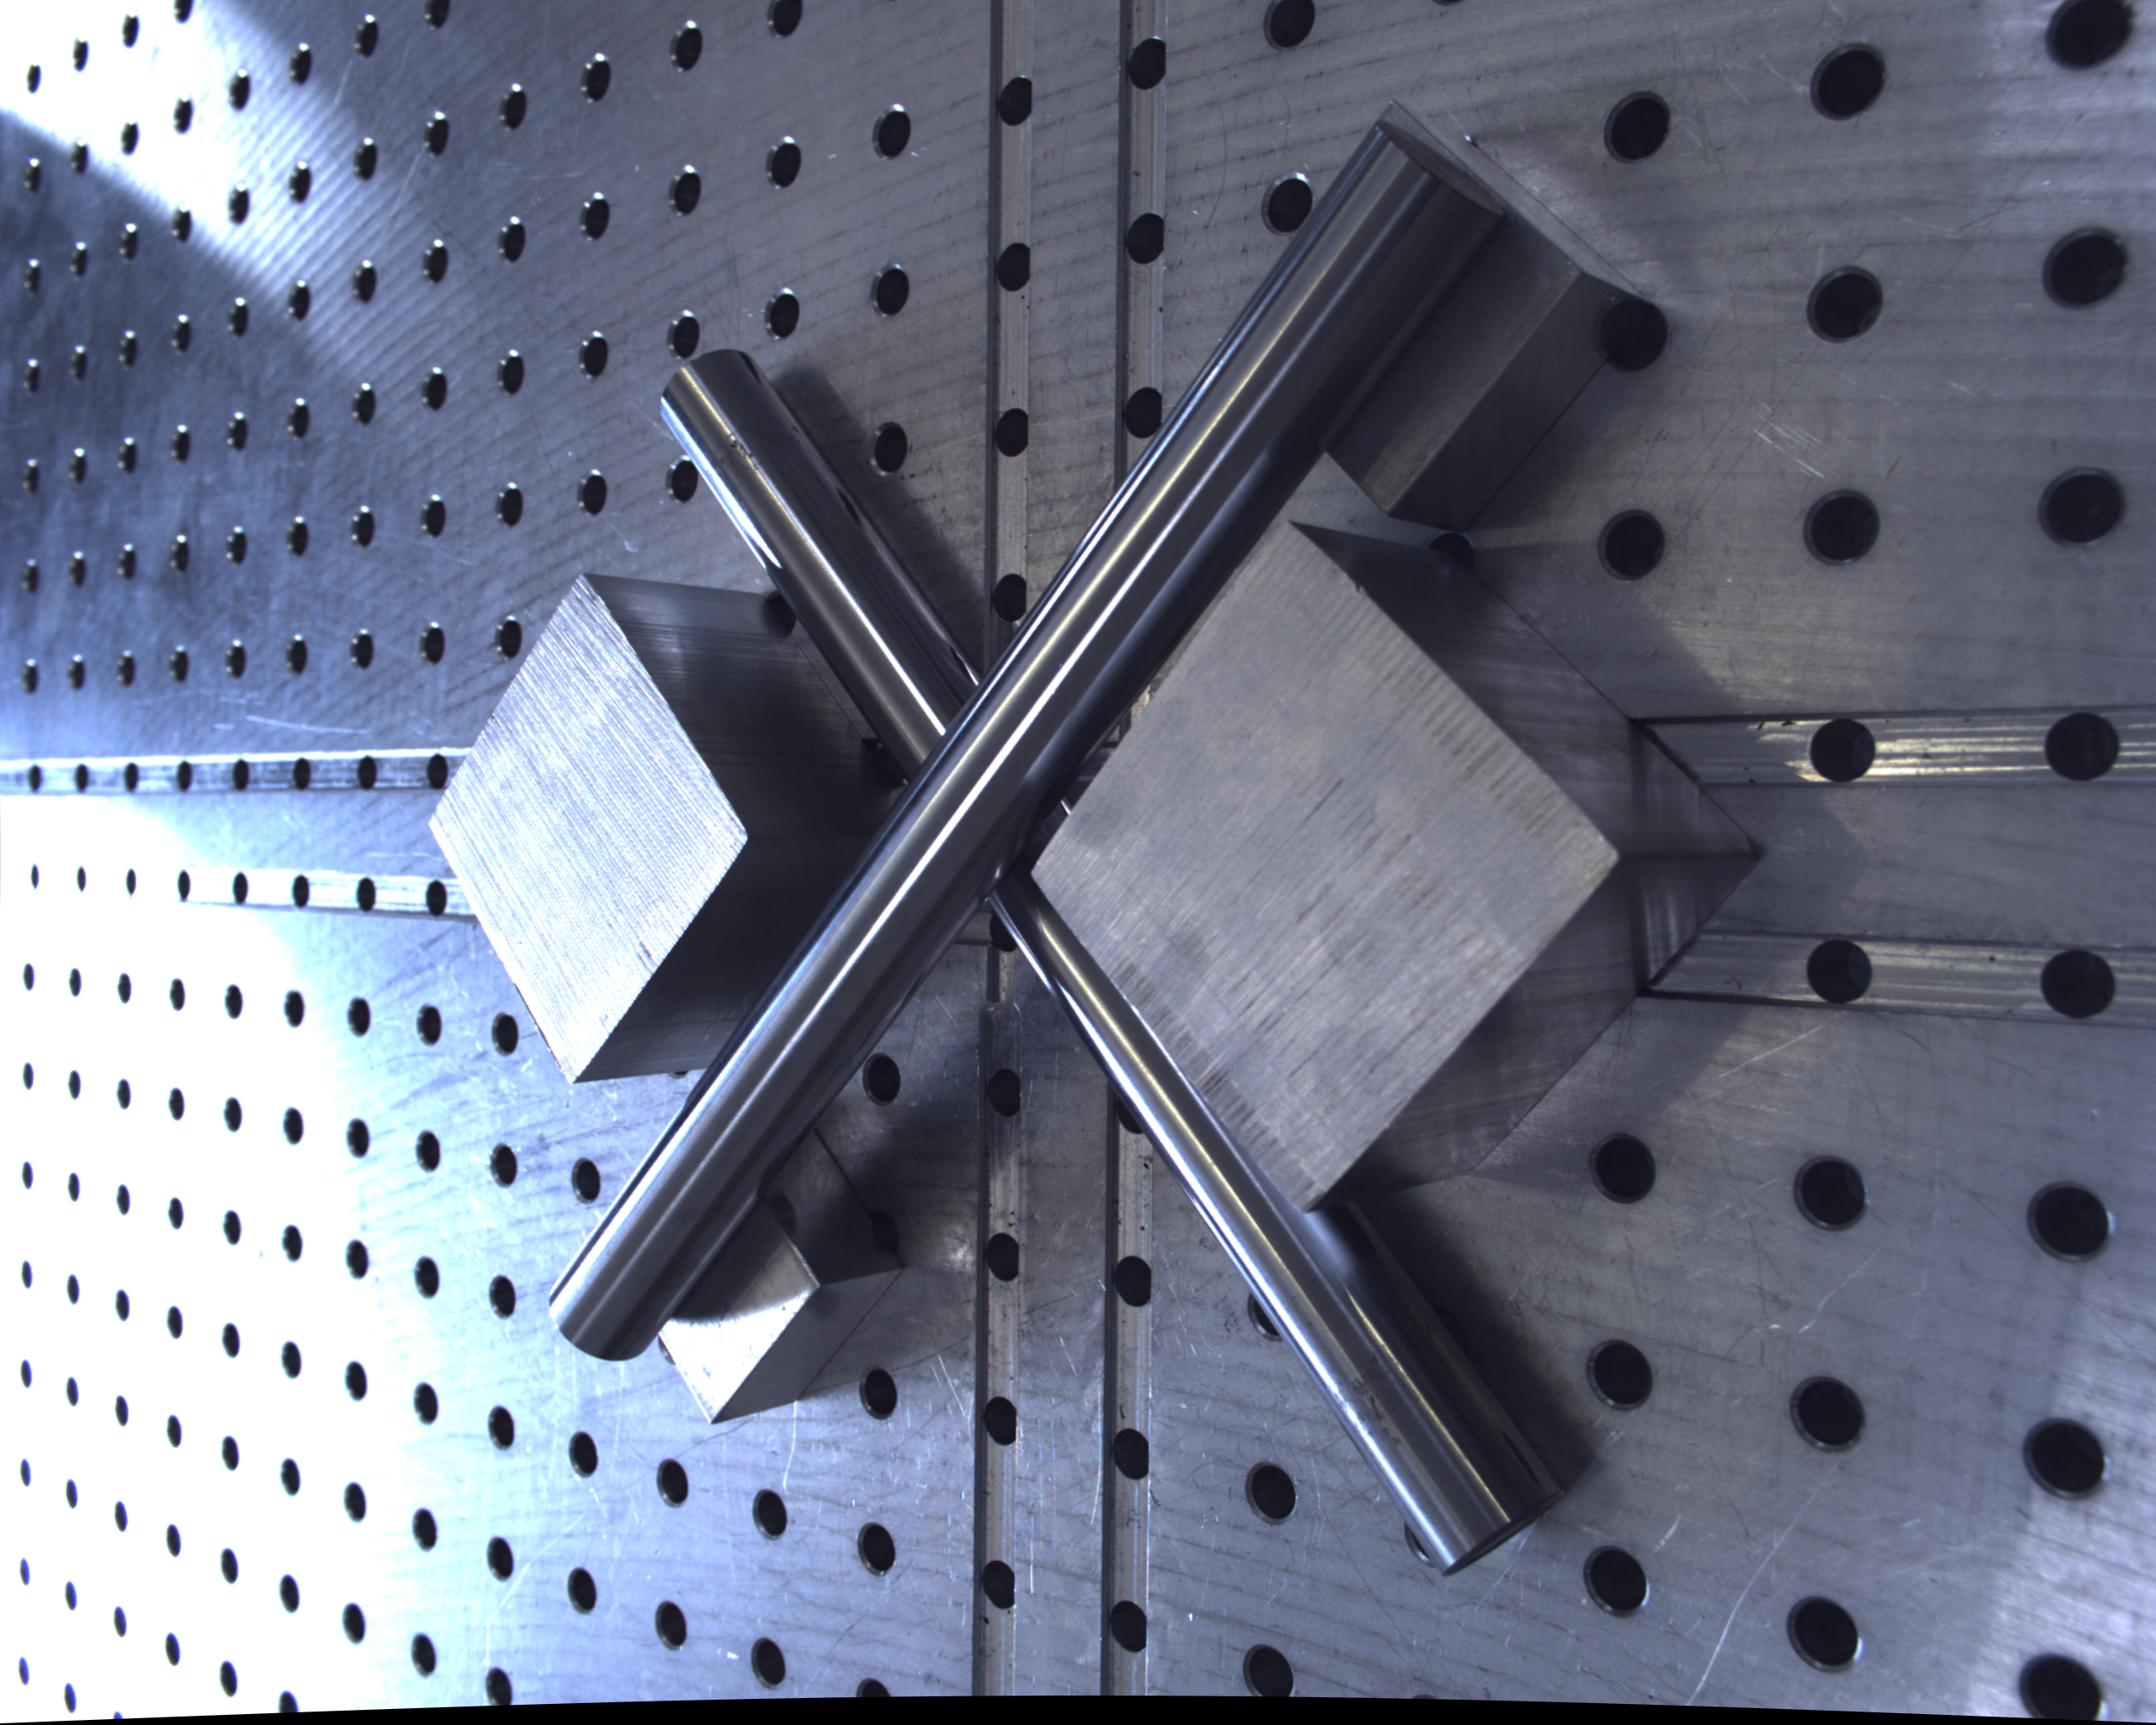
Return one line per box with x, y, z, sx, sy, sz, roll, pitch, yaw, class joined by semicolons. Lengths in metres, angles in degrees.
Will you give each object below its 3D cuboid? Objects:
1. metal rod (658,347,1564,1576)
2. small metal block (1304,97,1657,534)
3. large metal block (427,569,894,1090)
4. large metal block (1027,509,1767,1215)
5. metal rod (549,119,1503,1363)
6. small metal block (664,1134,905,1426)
-0.007;0.002;0.414;0.025;0.025;0.299;-50;61;28;metal rod
0.061;-0.093;0.360;0.050;0.025;0.050;-52;60;27;small metal block
-0.092;-0.007;0.469;0.080;0.050;0.080;-51;61;28;large metal block
0.051;0.000;0.351;0.080;0.050;0.080;51;120;28;large metal block
-0.024;-0.005;0.396;0.298;0.025;0.025;-52;60;27;metal rod
-0.073;0.089;0.470;0.050;0.025;0.050;52;120;27;small metal block
